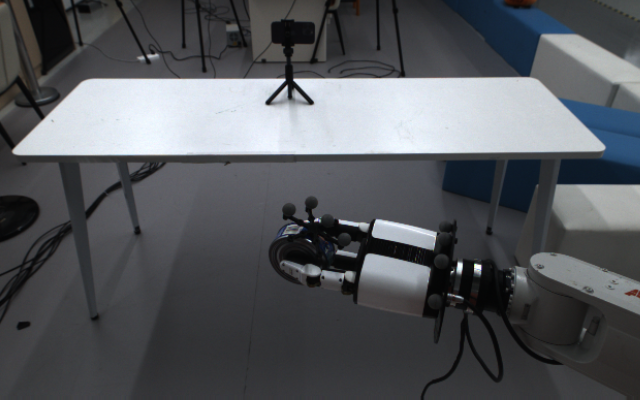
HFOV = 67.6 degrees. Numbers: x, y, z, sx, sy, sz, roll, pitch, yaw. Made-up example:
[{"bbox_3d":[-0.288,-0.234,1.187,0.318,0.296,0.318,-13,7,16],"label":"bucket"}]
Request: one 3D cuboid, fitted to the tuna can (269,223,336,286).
[{"bbox_3d":[-0.021,0.079,0.647,0.085,0.085,0.034,12,35,14],"label":"tuna can"}]
